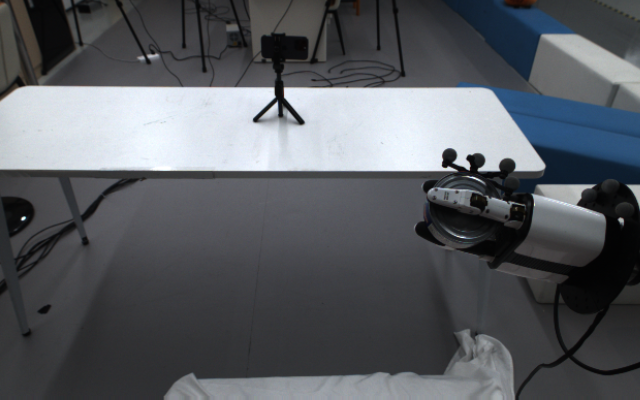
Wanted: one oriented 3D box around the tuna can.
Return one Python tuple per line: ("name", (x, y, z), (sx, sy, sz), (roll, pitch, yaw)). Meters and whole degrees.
("tuna can", (0.168, 0.009, 0.567), (0.085, 0.034, 0.085), (0, 72, 0))
